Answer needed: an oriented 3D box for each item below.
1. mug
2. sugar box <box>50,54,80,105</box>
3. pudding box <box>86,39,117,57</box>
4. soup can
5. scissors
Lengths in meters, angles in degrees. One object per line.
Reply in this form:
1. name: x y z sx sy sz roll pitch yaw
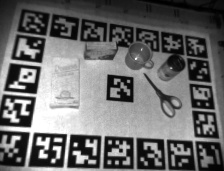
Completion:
1. mug: 0.113 -0.121 0.820 0.094 0.081 0.117 -31 80 -16
2. sugar box: -0.162 -0.019 0.753 0.093 0.045 0.176 3 74 -9
3. pudding box: -0.032 -0.137 0.785 0.114 0.089 0.038 -4 80 -13
4. soup can: 0.225 -0.072 0.827 0.068 0.102 0.067 3 71 -9
5. scissors: 0.192 0.027 0.826 0.088 0.016 0.202 -38 85 -10
